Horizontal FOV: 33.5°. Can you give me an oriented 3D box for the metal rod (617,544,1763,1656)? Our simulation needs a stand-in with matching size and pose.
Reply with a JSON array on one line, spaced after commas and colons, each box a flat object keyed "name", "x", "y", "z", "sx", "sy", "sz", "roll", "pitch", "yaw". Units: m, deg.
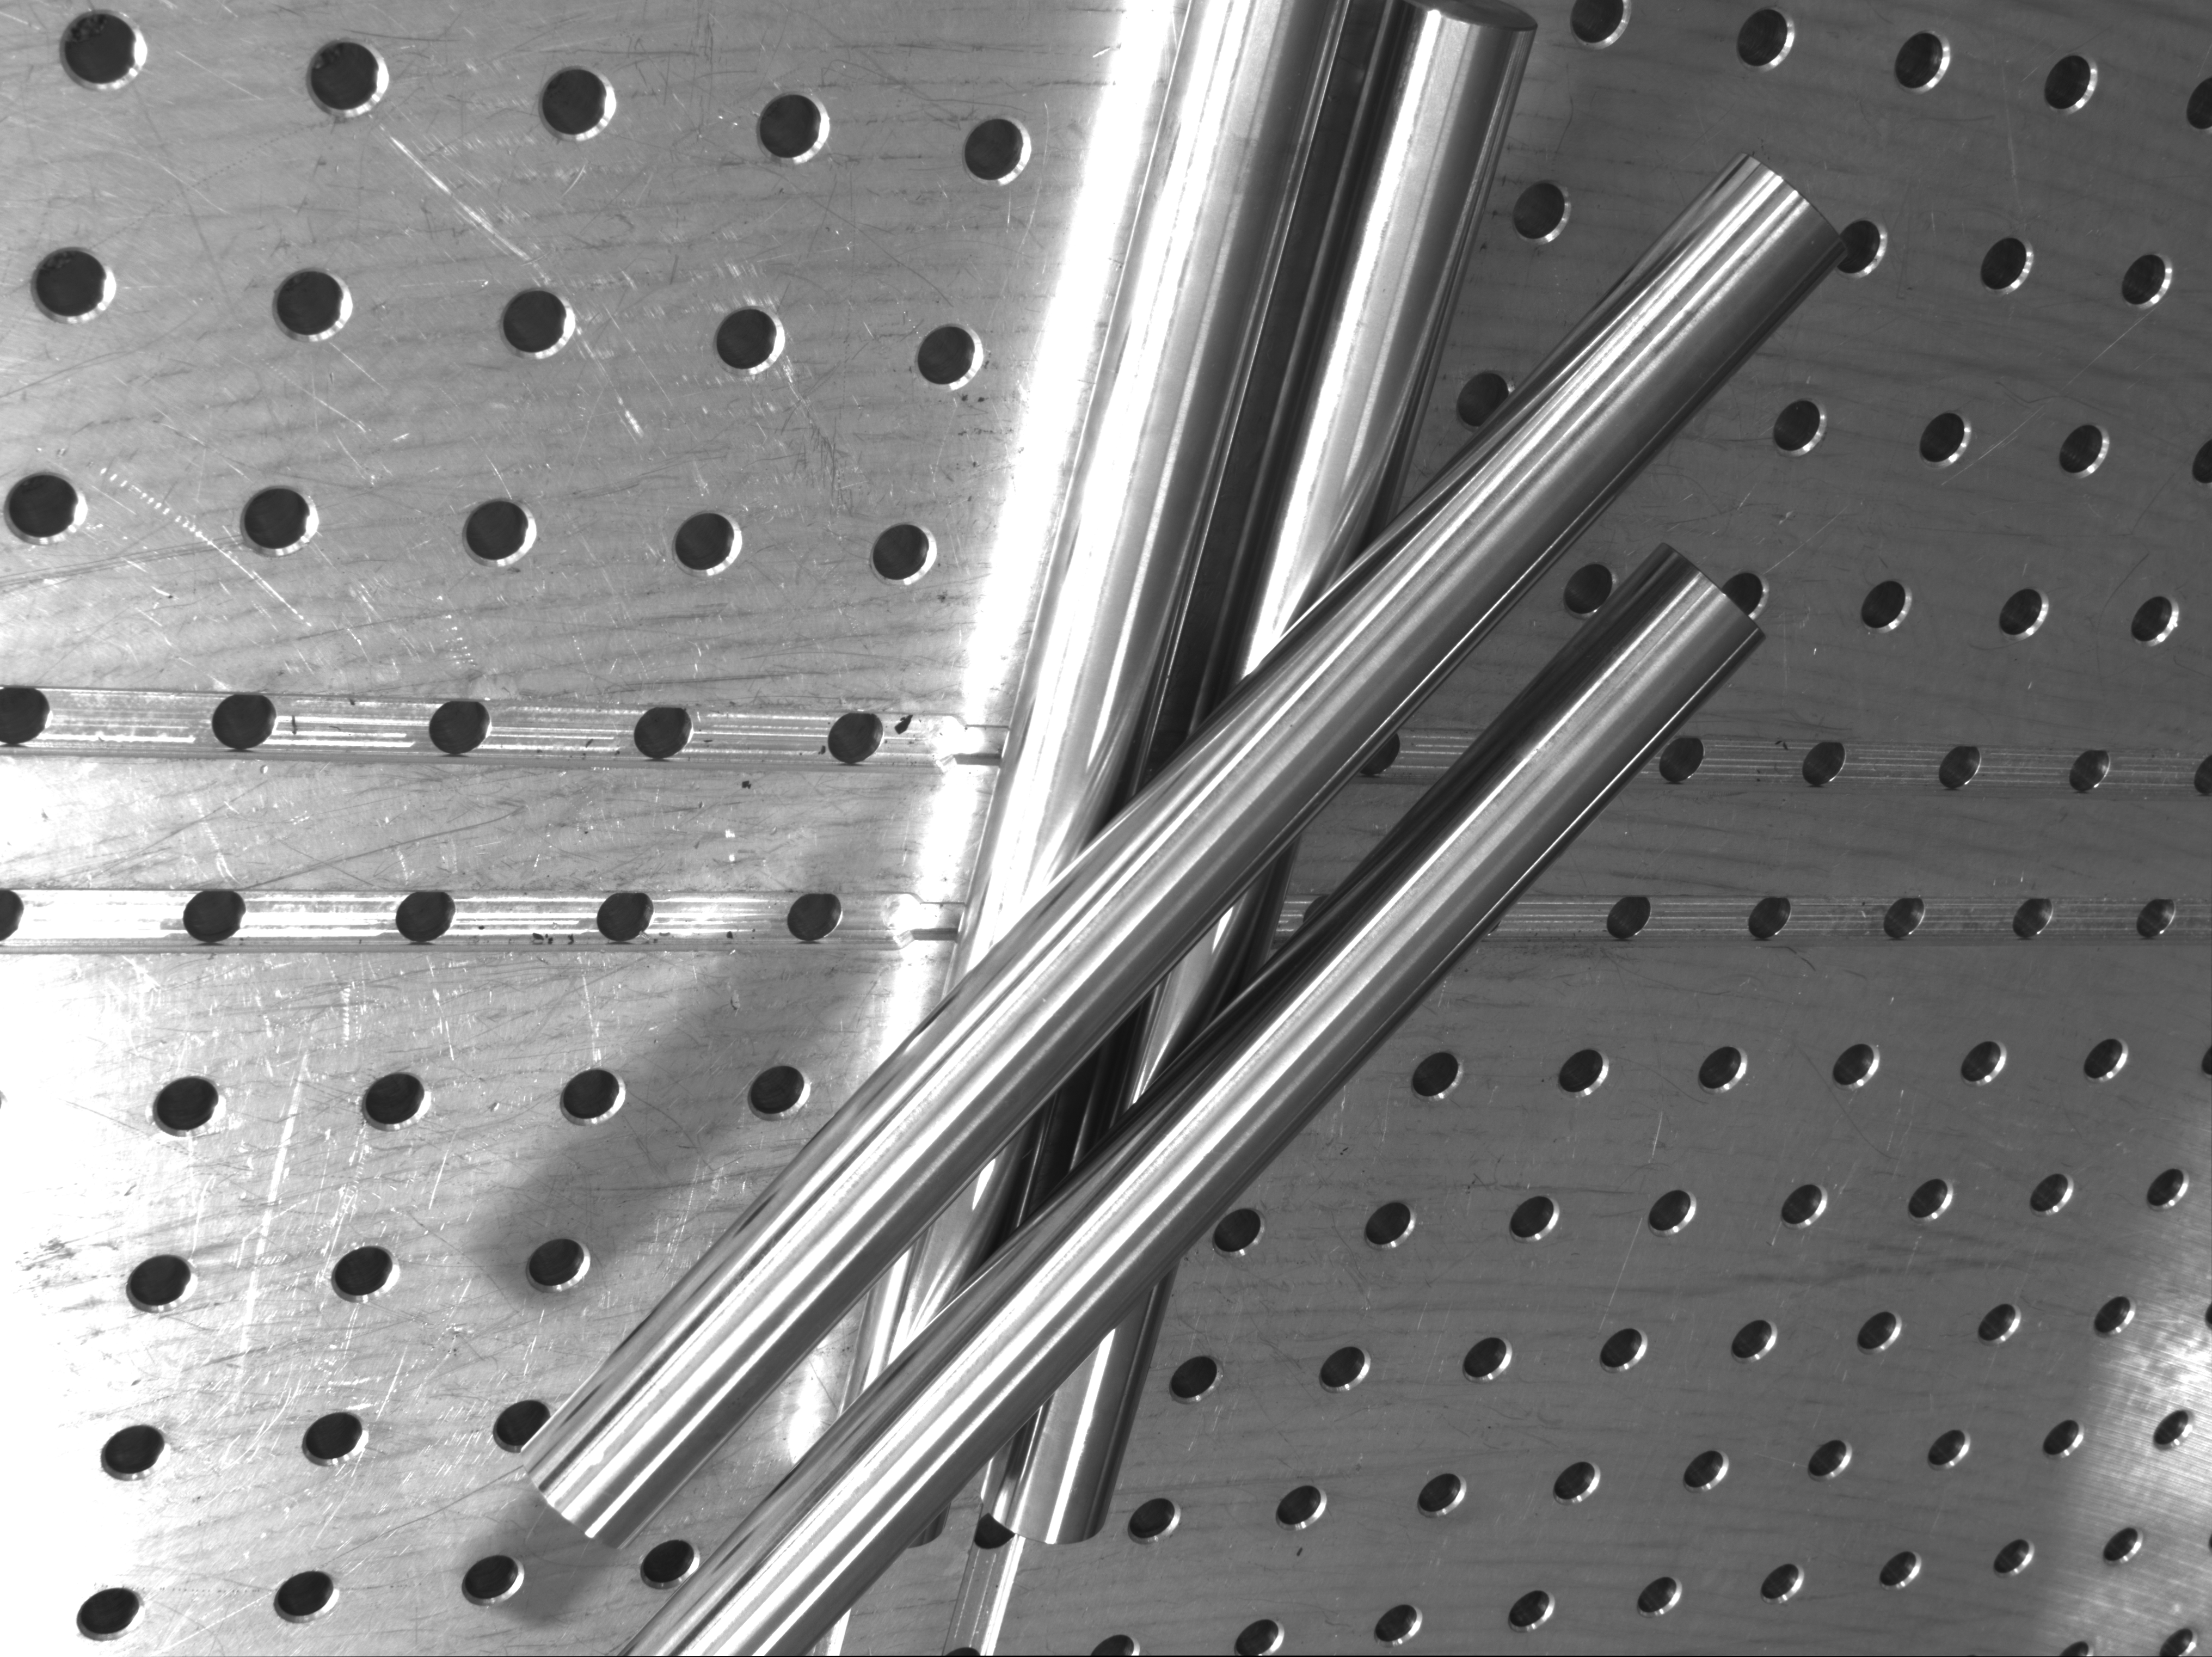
[{"name": "metal rod", "x": 0.004, "y": 0.068, "z": 0.652, "sx": 0.300, "sy": 0.025, "sz": 0.025, "roll": -47, "pitch": 129, "yaw": 4}]

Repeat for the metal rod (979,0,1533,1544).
[{"name": "metal rod", "x": 0.022, "y": -0.001, "z": 0.653, "sx": 0.025, "sy": 0.025, "sz": 0.300, "roll": 1, "pitch": 118, "yaw": -28}]

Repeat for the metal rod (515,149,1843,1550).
[{"name": "metal rod", "x": 0.010, "y": 0.006, "z": 0.618, "sx": 0.300, "sy": 0.025, "sz": 0.025, "roll": -47, "pitch": 129, "yaw": 4}]

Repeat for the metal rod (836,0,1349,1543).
[{"name": "metal rod", "x": -0.008, "y": -0.003, "z": 0.635, "sx": 0.025, "sy": 0.025, "sz": 0.300, "roll": 1, "pitch": 118, "yaw": -28}]
